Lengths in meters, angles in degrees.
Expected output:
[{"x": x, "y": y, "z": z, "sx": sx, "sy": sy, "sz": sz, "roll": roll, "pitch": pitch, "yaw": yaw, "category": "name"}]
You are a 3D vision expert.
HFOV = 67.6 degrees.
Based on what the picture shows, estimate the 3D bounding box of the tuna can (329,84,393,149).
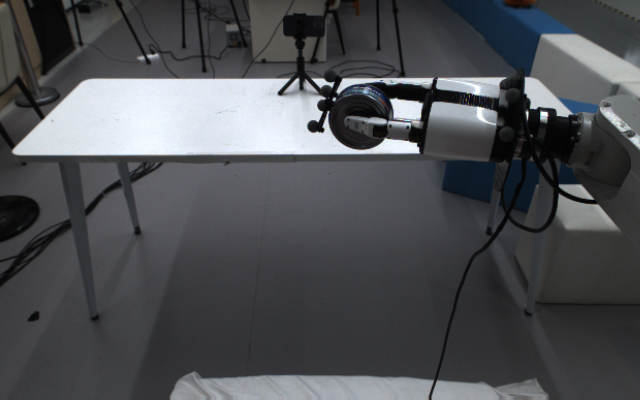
[{"x": 0.057, "y": -0.114, "z": 0.666, "sx": 0.085, "sy": 0.085, "sz": 0.034, "roll": 9, "pitch": 35, "yaw": 10, "category": "tuna can"}]
